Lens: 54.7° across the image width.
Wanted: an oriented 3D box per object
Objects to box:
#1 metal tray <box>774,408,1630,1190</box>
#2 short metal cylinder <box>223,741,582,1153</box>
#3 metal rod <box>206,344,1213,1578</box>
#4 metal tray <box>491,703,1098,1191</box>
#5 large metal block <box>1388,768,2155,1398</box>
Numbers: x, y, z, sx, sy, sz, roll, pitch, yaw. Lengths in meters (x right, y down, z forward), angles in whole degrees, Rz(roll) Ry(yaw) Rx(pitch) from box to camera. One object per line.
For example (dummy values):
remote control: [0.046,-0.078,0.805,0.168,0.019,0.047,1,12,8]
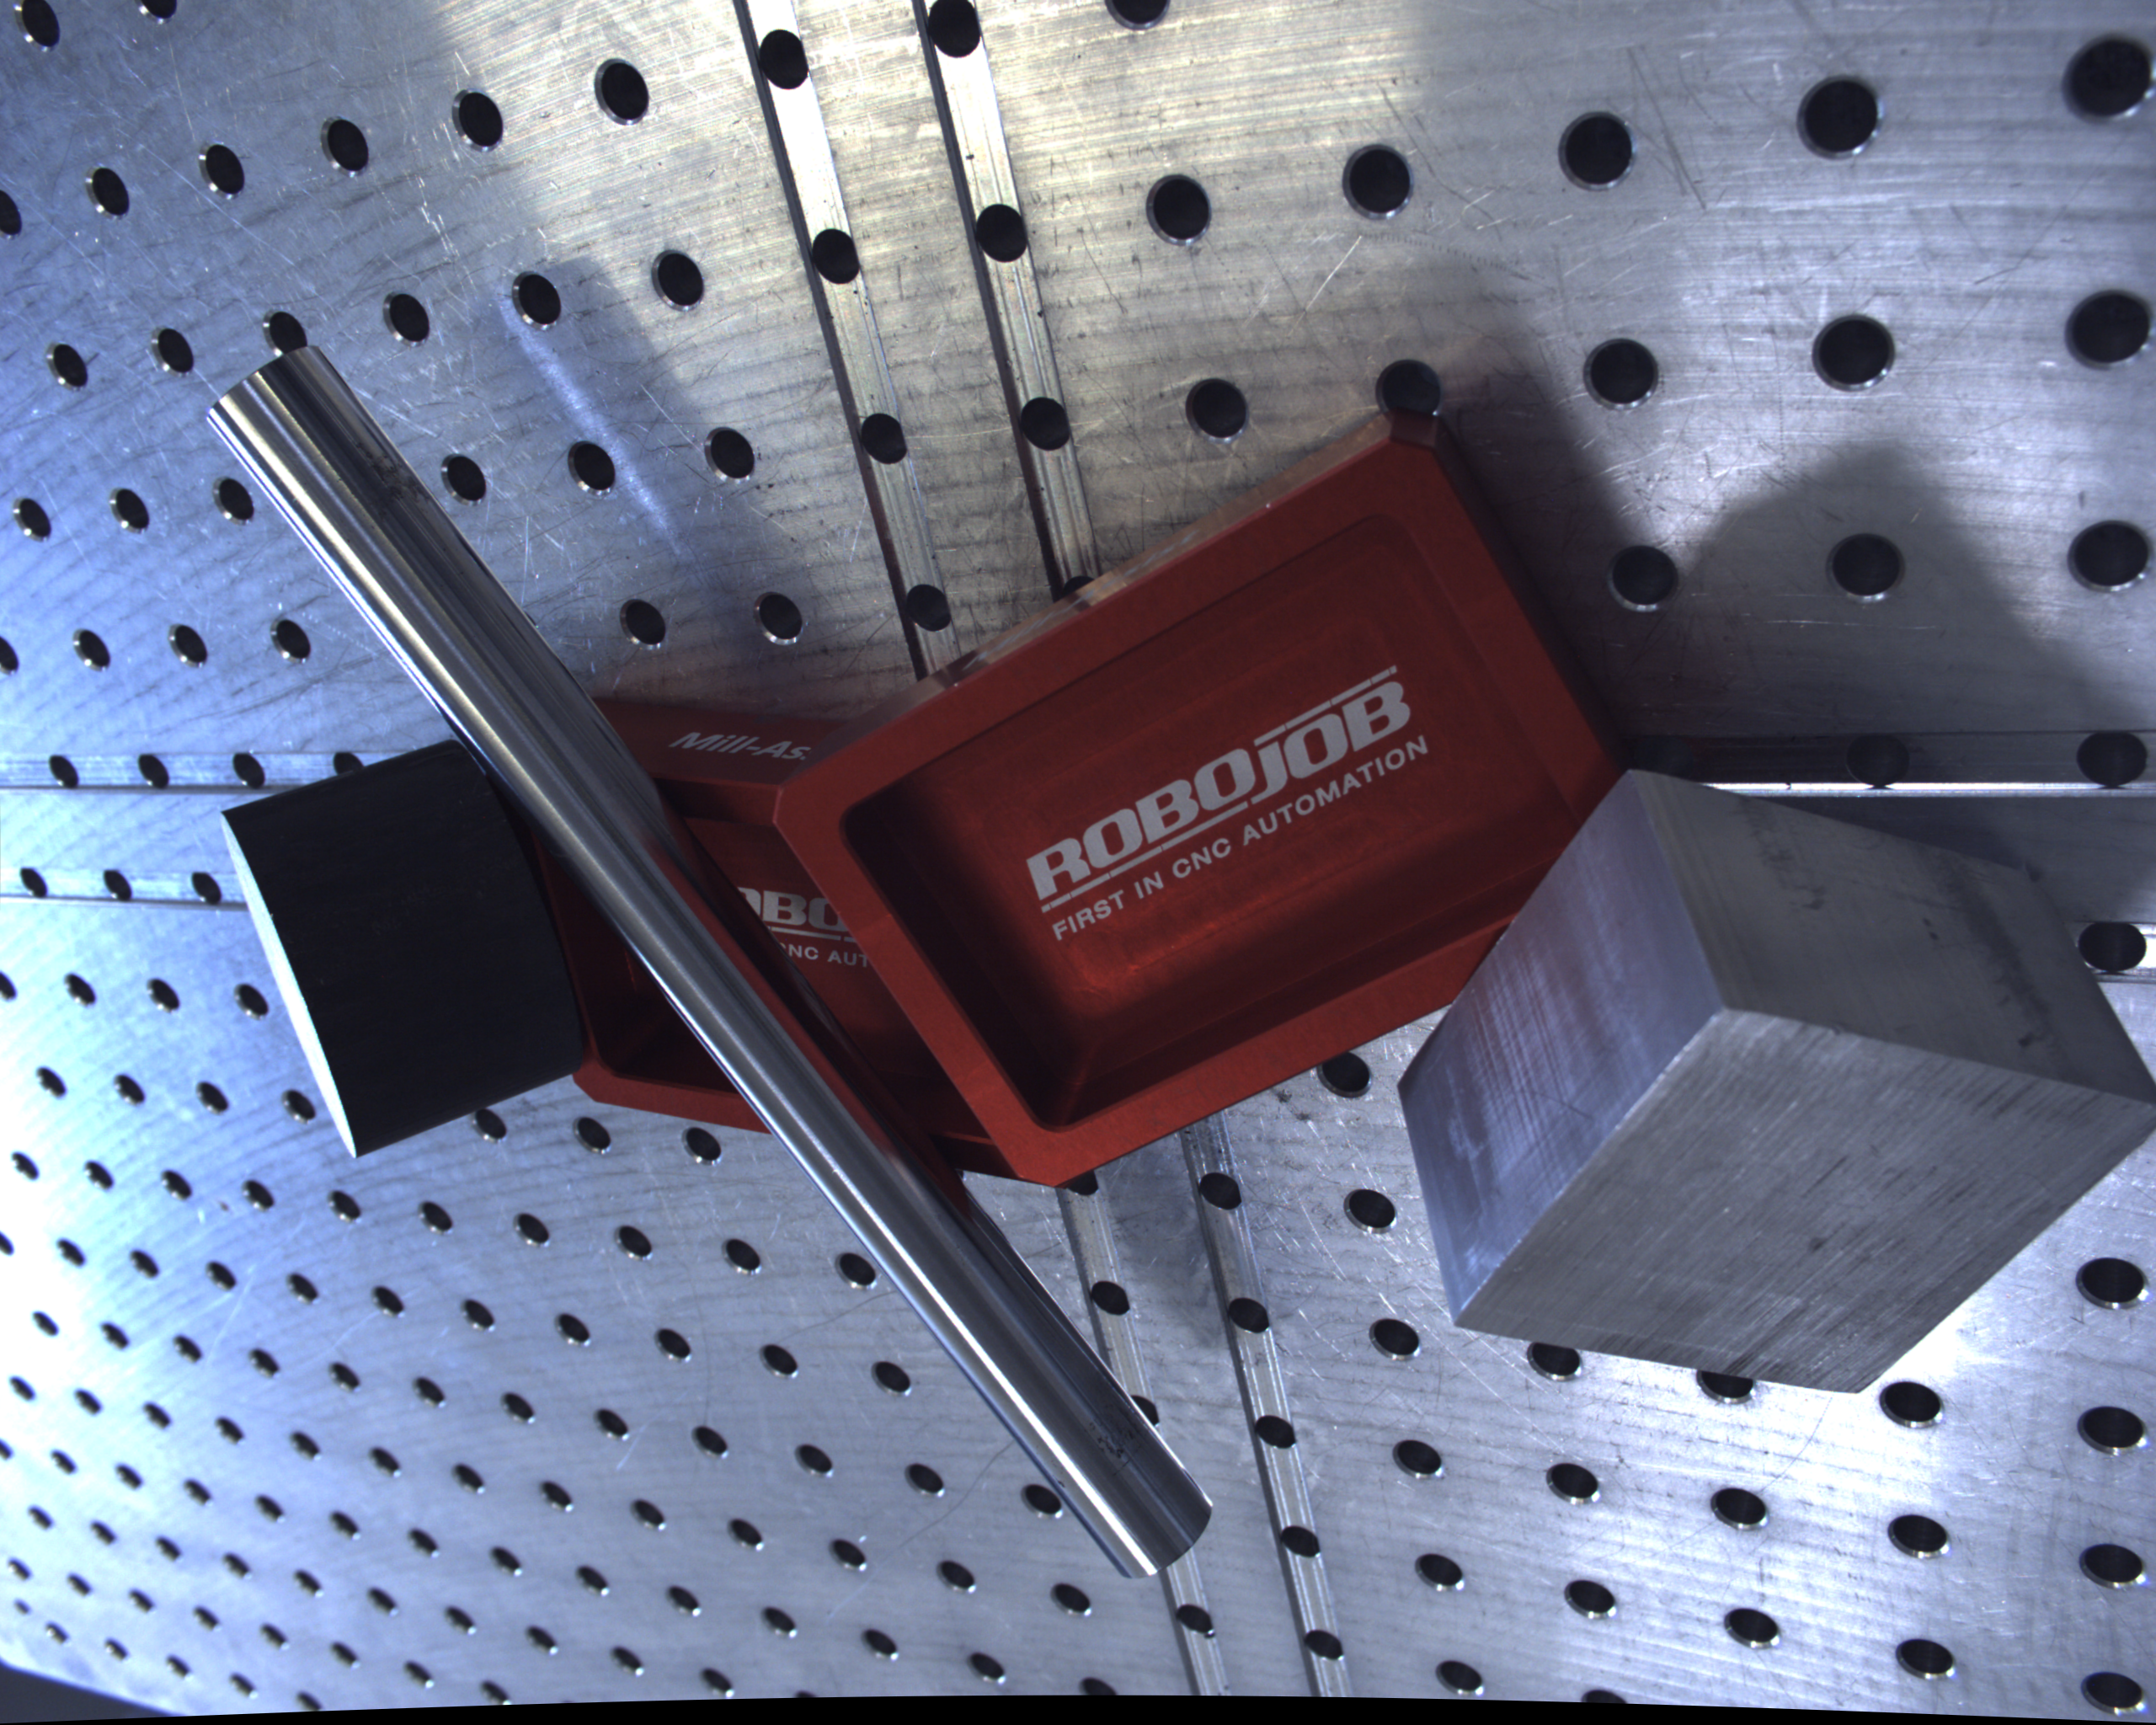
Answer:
metal tray: [0.025,-0.008,0.366,0.130,0.030,0.090,-28,104,20]
short metal cylinder: [-0.149,0.018,0.462,0.080,0.050,0.079,47,149,41]
metal rod: [-0.068,0.027,0.425,0.025,0.025,0.299,-28,103,37]
metal tray: [-0.056,0.016,0.447,0.130,0.030,0.089,7,122,24]
large metal block: [0.109,0.039,0.339,0.081,0.050,0.079,13,131,-18]
